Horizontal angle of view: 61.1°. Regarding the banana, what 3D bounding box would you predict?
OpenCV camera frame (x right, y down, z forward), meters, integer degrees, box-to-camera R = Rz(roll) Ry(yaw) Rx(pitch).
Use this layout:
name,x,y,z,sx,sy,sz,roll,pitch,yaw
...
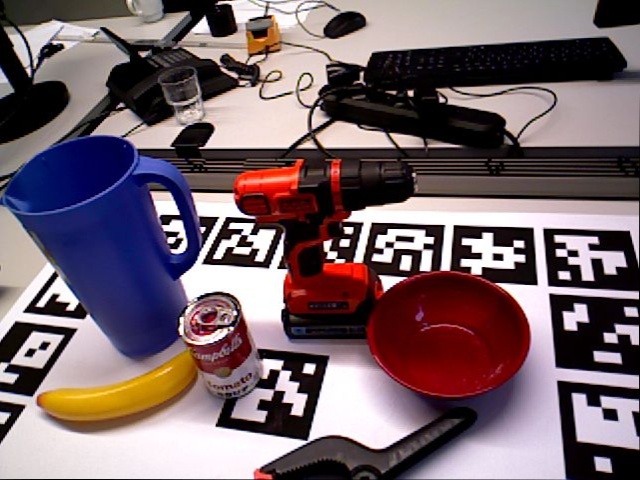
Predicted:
name,x,y,z,sx,sy,sz,roll,pitch,yaw
banana,-0.220,0.164,0.588,0.196,0.039,0.073,-17,35,-6

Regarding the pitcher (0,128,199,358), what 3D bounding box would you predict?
name,x,y,z,sx,sy,sz,roll,pitch,yaw
pitcher,-0.218,0.010,0.592,0.187,0.247,0.132,-17,40,-5

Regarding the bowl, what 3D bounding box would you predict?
name,x,y,z,sx,sy,sz,roll,pitch,yaw
bowl,0.132,0.088,0.560,0.162,0.056,0.159,-8,45,7

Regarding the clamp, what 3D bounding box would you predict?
name,x,y,z,sx,sy,sz,roll,pitch,yaw
clamp,0.053,0.200,0.468,0.203,0.037,0.162,-3,48,11

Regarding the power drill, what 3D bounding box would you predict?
name,x,y,z,sx,sy,sz,roll,pitch,yaw
power drill,0.021,-0.012,0.567,0.185,0.190,0.056,-4,44,9

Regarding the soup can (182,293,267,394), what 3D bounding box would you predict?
name,x,y,z,sx,sy,sz,roll,pitch,yaw
soup can,-0.098,0.103,0.571,0.068,0.104,0.067,-7,35,4
